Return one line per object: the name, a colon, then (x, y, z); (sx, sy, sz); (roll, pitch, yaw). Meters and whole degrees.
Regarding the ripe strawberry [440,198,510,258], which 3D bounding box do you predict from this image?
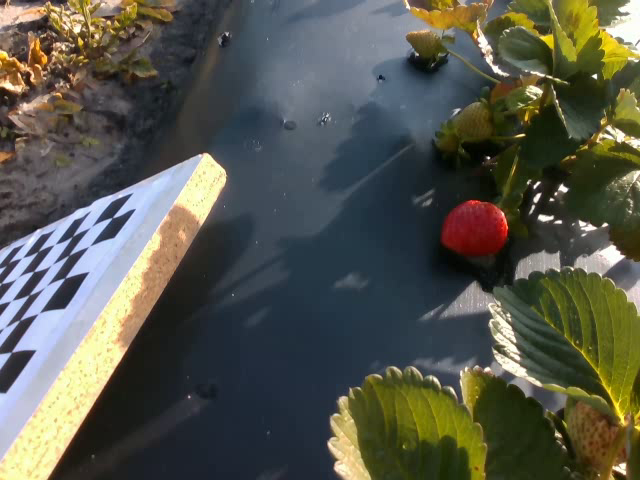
ripe strawberry: (0.073, -0.002, 0.305); (0.044, 0.033, 0.030); (-19, 16, -26)
